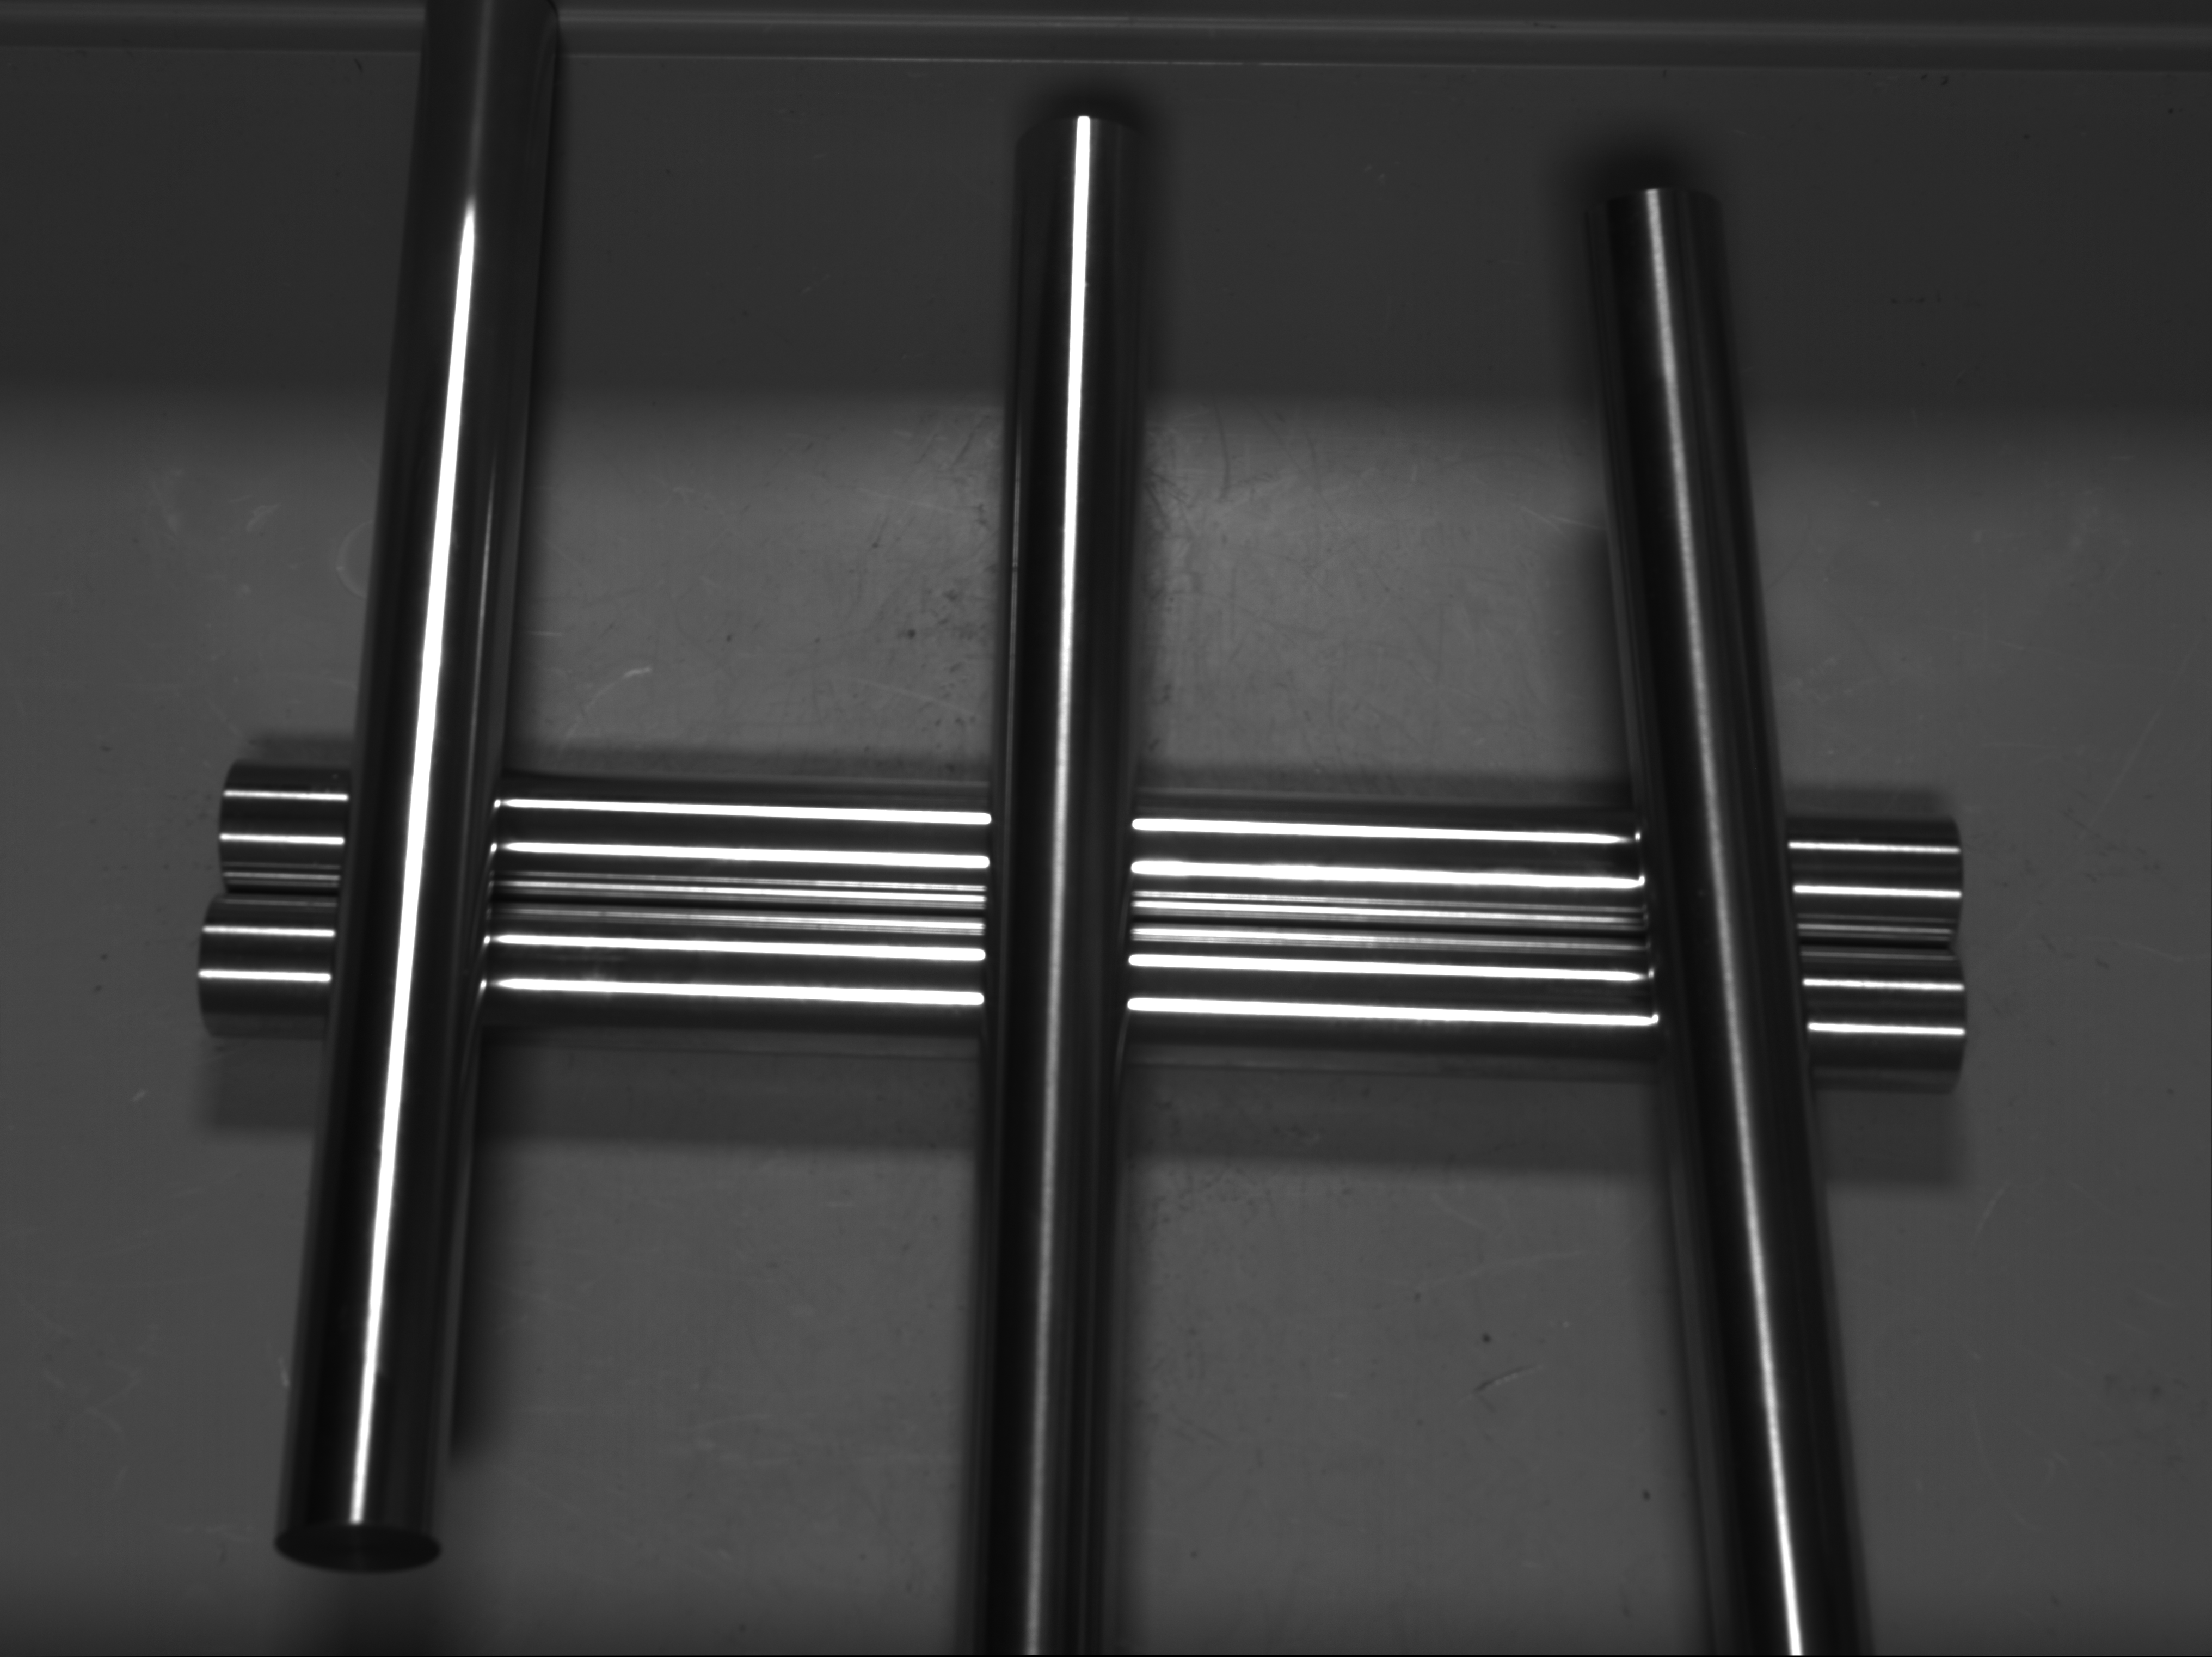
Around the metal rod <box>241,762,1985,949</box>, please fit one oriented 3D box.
[{"bbox_3d":[0.001,0.006,0.642,0.300,0.025,0.025,2,70,1],"label":"metal rod"}]

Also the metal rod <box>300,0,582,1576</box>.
[{"bbox_3d":[-0.111,-0.022,0.626,0.025,0.025,0.300,-1,62,0],"label":"metal rod"}]

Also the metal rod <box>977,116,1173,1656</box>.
[{"bbox_3d":[-0.004,0.019,0.611,0.025,0.025,0.300,1,70,1],"label":"metal rod"}]

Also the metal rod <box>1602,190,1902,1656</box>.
[{"bbox_3d":[0.109,0.040,0.605,0.025,0.025,0.300,-4,78,-1],"label":"metal rod"}]

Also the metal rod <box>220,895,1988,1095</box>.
[{"bbox_3d":[0.000,0.029,0.634,0.300,0.025,0.025,2,70,1],"label":"metal rod"}]
